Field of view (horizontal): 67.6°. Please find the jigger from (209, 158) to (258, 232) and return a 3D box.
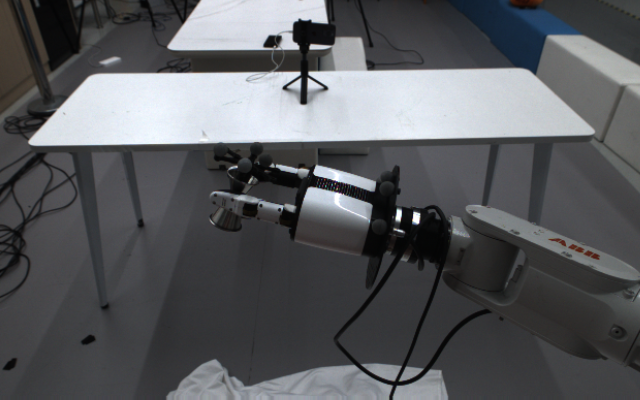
[{"bbox_3d":[-0.108,0.000,0.607,0.043,0.071,0.043,23,19,-8],"label":"jigger"}]
